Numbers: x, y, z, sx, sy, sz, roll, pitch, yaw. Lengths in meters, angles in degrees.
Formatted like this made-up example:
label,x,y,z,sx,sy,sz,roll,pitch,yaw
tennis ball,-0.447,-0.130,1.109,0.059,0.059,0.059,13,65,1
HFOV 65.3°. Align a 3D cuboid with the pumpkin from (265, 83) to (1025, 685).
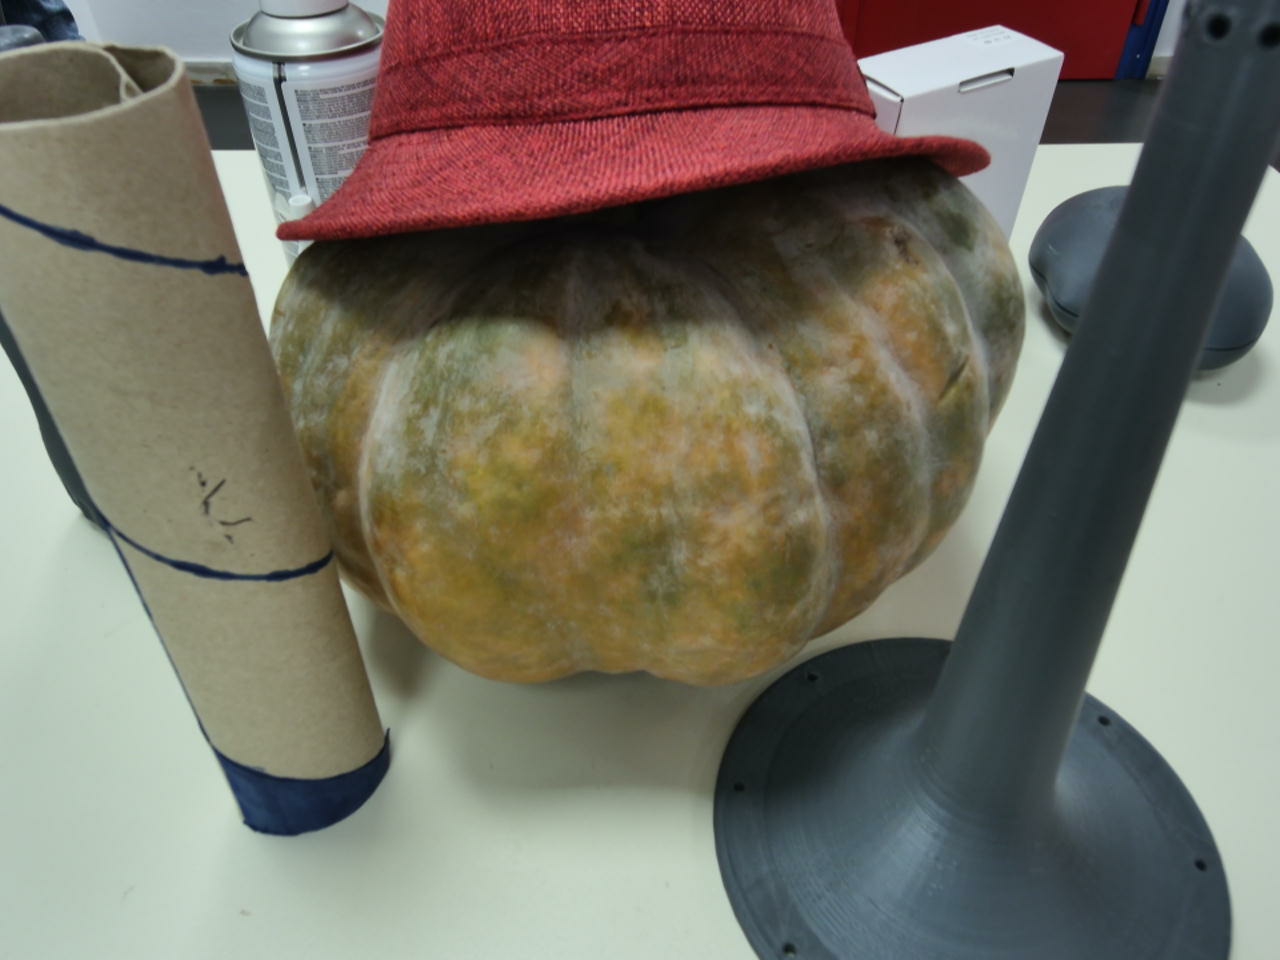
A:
label,x,y,z,sx,sy,sz,roll,pitch,yaw
pumpkin,-0.006,-0.039,0.354,0.252,0.169,0.251,0,39,0
